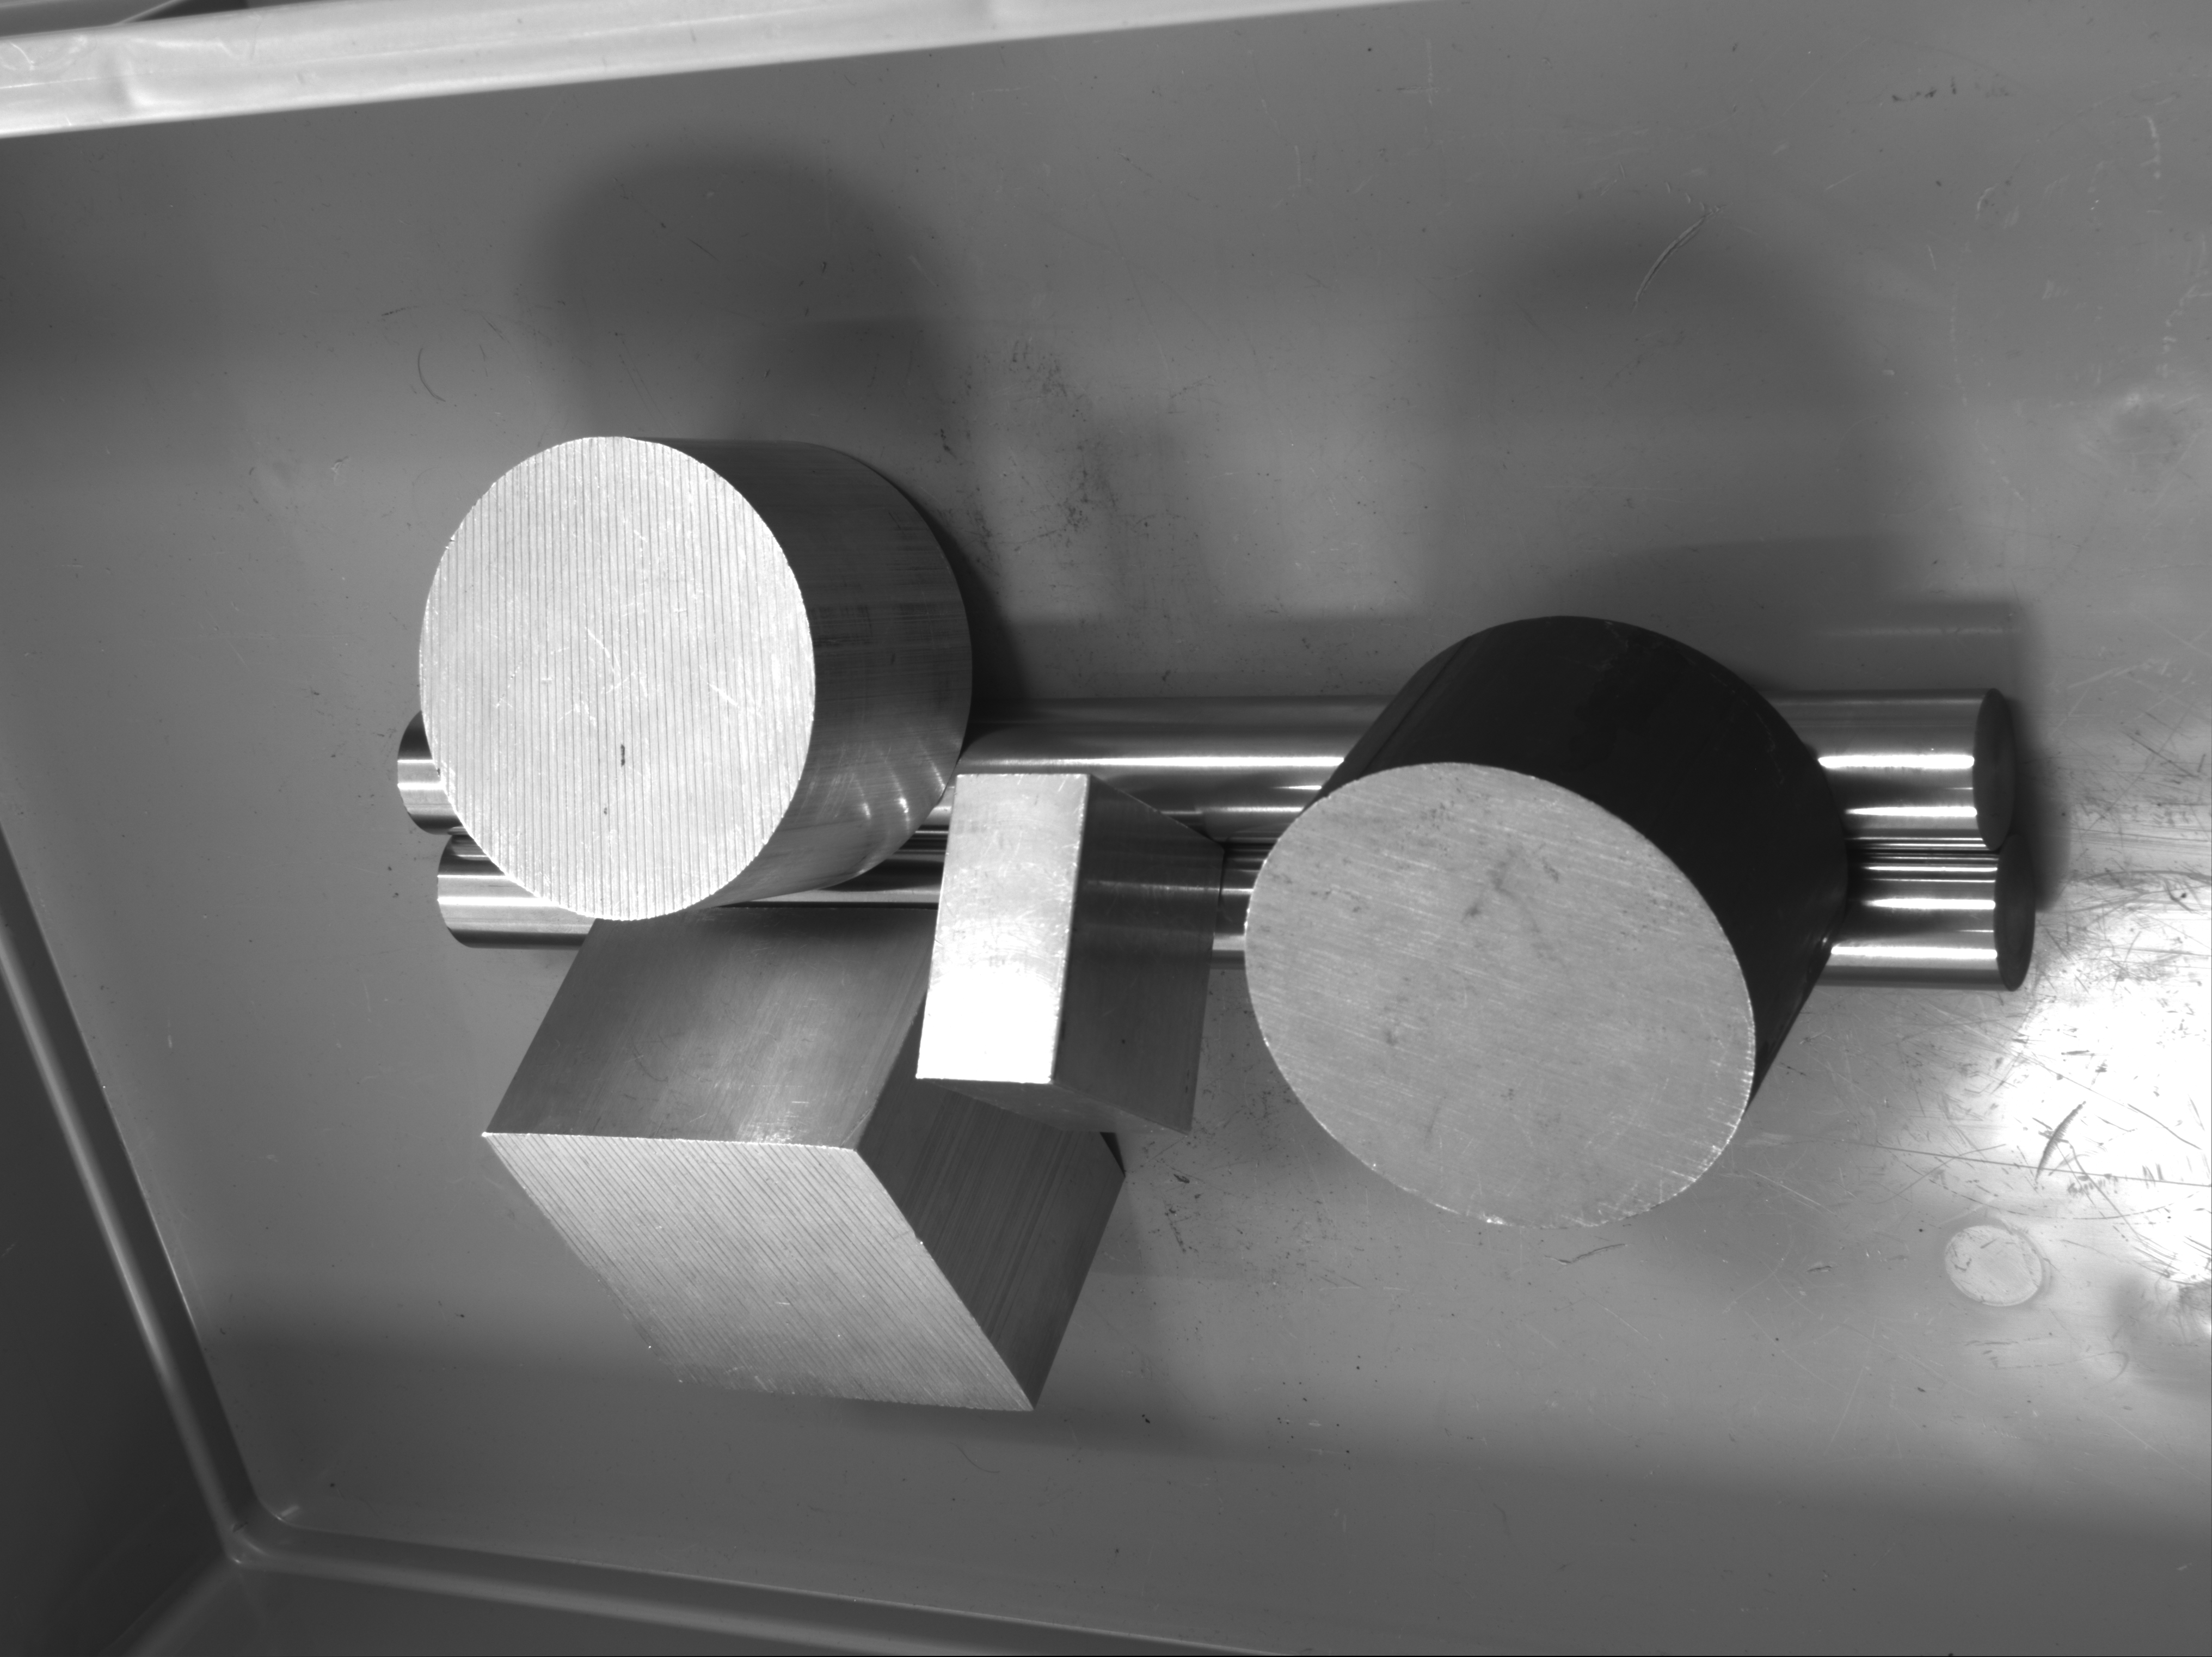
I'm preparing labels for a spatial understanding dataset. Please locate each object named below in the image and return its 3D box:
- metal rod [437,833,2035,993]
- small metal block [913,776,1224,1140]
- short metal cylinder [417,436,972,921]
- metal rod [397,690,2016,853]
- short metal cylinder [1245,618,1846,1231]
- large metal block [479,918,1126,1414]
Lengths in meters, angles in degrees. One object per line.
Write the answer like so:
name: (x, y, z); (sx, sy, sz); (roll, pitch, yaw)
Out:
metal rod: (0.010, 0.012, 0.644); (0.299, 0.025, 0.025); (1, 118, 28)
small metal block: (-0.005, 0.022, 0.605); (0.025, 0.050, 0.050); (1, 76, 28)
short metal cylinder: (-0.070, -0.026, 0.628); (0.080, 0.050, 0.080); (2, 95, 28)
metal rod: (0.004, -0.010, 0.633); (0.299, 0.025, 0.025); (1, 118, 28)
short metal cylinder: (0.068, 0.015, 0.565); (0.080, 0.050, 0.080); (13, 124, 21)
large metal block: (-0.054, 0.061, 0.674); (0.080, 0.050, 0.080); (-1, 138, 29)
